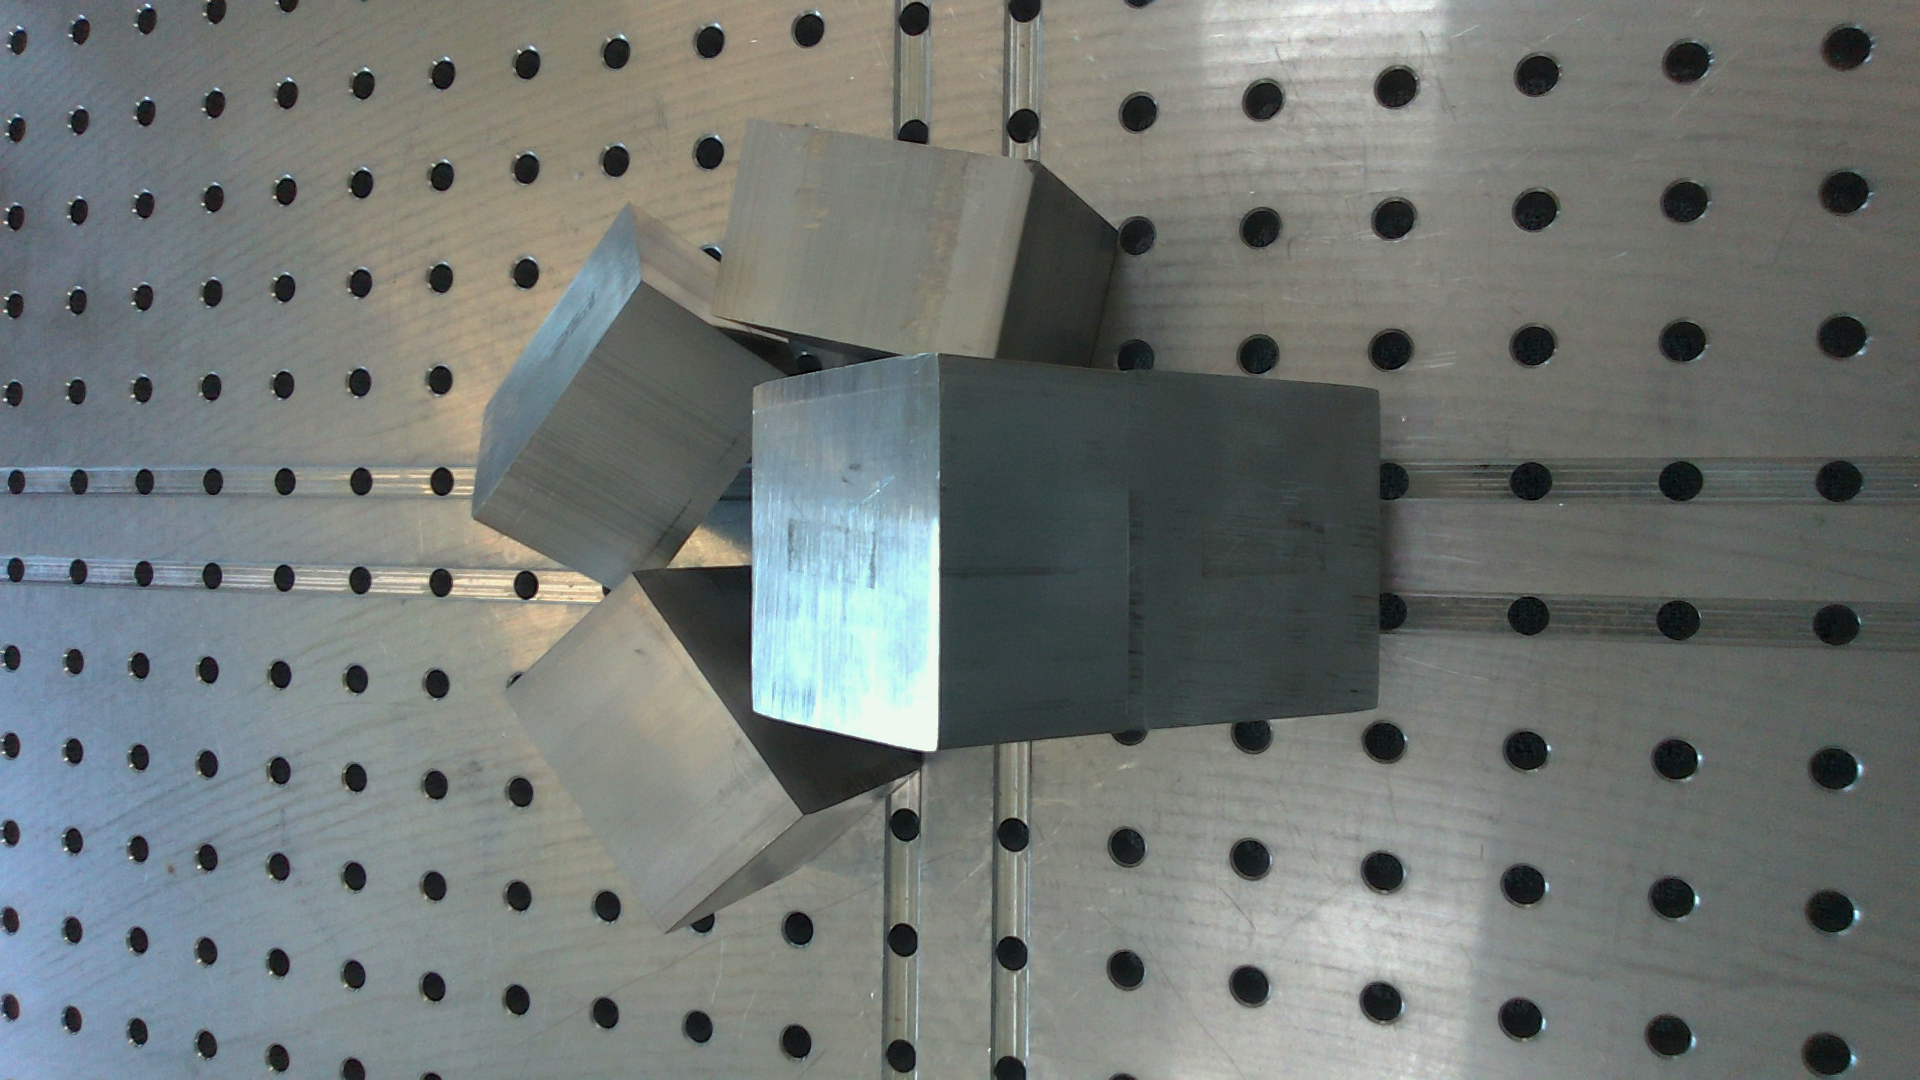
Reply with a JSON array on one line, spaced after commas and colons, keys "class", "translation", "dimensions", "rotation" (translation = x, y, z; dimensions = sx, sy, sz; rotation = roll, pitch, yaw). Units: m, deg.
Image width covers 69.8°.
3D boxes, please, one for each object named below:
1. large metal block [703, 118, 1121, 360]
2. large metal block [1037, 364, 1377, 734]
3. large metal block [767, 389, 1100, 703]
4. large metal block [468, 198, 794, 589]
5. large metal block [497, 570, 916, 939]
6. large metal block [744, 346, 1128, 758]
[{"class": "large metal block", "translation": [-0.010, -0.073, 0.373], "dimensions": [0.080, 0.080, 0.050], "rotation": [14, 95, 20]}, {"class": "large metal block", "translation": [0.056, 0.002, 0.340], "dimensions": [0.050, 0.080, 0.080], "rotation": [-1, 89, 58]}, {"class": "large metal block", "translation": [-0.006, 0.001, 0.387], "dimensions": [0.080, 0.050, 0.080], "rotation": [1, 90, 20]}, {"class": "large metal block", "translation": [-0.095, -0.042, 0.397], "dimensions": [0.050, 0.080, 0.080], "rotation": [32, 105, -28]}, {"class": "large metal block", "translation": [-0.069, 0.056, 0.393], "dimensions": [0.050, 0.080, 0.080], "rotation": [-41, 77, 15]}, {"class": "large metal block", "translation": [-0.008, 0.003, 0.314], "dimensions": [0.080, 0.050, 0.080], "rotation": [0, 89, 54]}]
